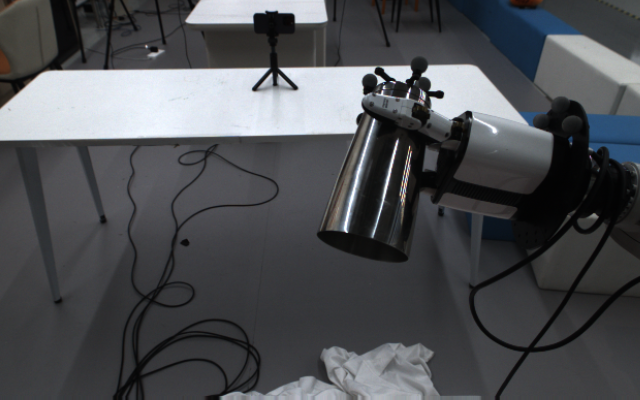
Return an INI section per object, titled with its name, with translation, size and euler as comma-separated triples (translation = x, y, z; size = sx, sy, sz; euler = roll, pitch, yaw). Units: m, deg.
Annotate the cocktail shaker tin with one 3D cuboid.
[cocktail shaker tin]
translation = 0.066, -0.034, 0.497
size = 0.093, 0.093, 0.170
euler = 12, 72, 14
